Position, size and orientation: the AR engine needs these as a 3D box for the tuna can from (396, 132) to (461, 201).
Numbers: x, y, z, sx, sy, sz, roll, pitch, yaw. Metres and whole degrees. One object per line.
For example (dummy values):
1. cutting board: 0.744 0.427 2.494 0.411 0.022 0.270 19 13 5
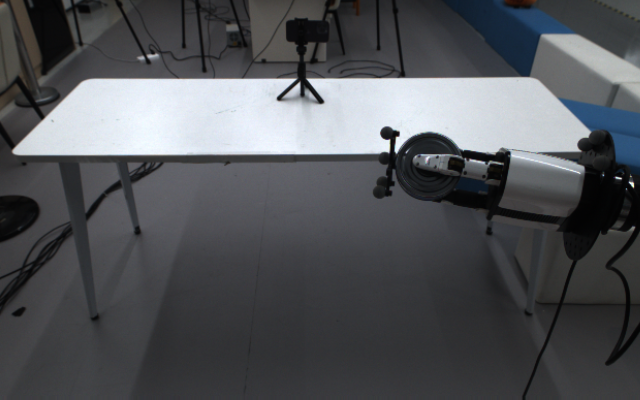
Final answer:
1. tuna can: 0.141 -0.047 0.627 0.085 0.085 0.034 9 -7 10
